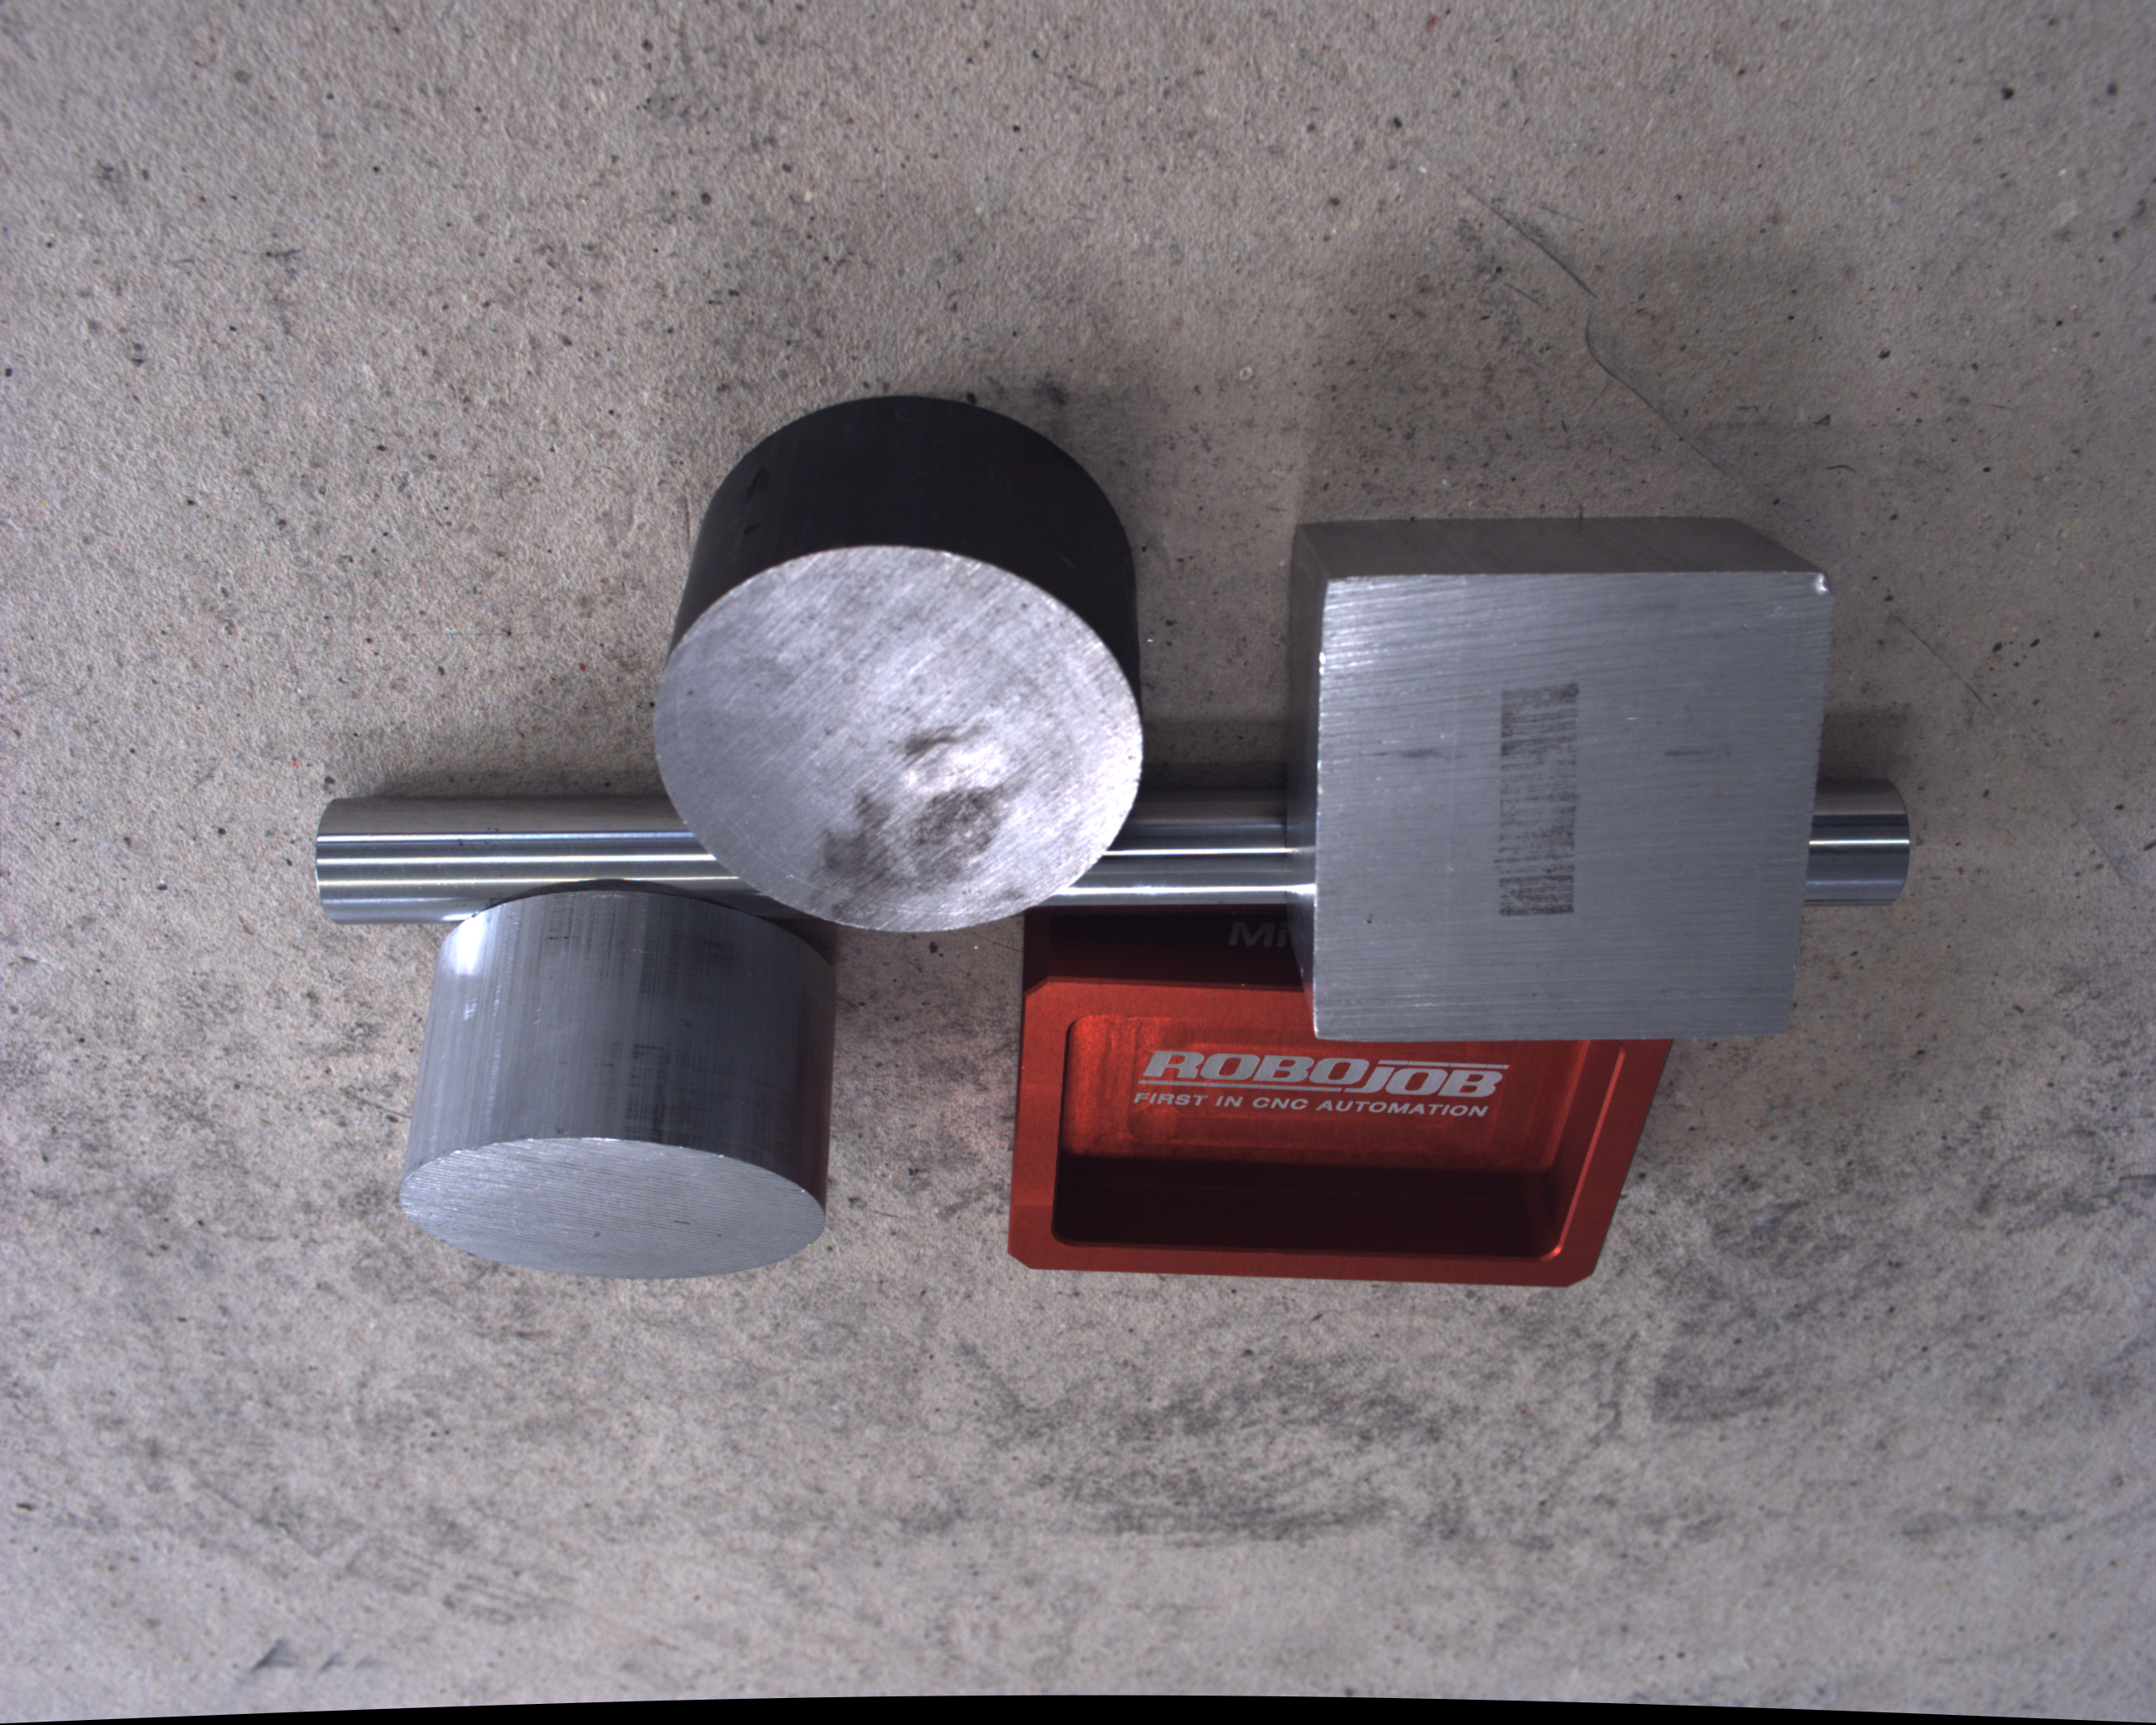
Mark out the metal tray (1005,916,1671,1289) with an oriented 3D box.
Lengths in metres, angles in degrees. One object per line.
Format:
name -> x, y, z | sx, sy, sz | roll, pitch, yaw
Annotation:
metal tray -> 0.052, 0.050, 0.447 | 0.131, 0.030, 0.089 | 2, 130, -3

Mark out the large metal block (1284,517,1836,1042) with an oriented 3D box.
large metal block -> 0.079, -0.016, 0.363 | 0.081, 0.050, 0.079 | -1, 109, 0

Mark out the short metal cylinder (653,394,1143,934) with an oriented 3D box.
short metal cylinder -> -0.029, -0.034, 0.363 | 0.081, 0.050, 0.079 | 0, 130, 0

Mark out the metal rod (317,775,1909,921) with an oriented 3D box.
metal rod -> 0.007, -0.003, 0.408 | 0.302, 0.025, 0.025 | -1, 130, 0

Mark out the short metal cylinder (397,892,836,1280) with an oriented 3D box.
short metal cylinder -> -0.090, 0.047, 0.415 | 0.081, 0.050, 0.080 | -1, 151, 0
